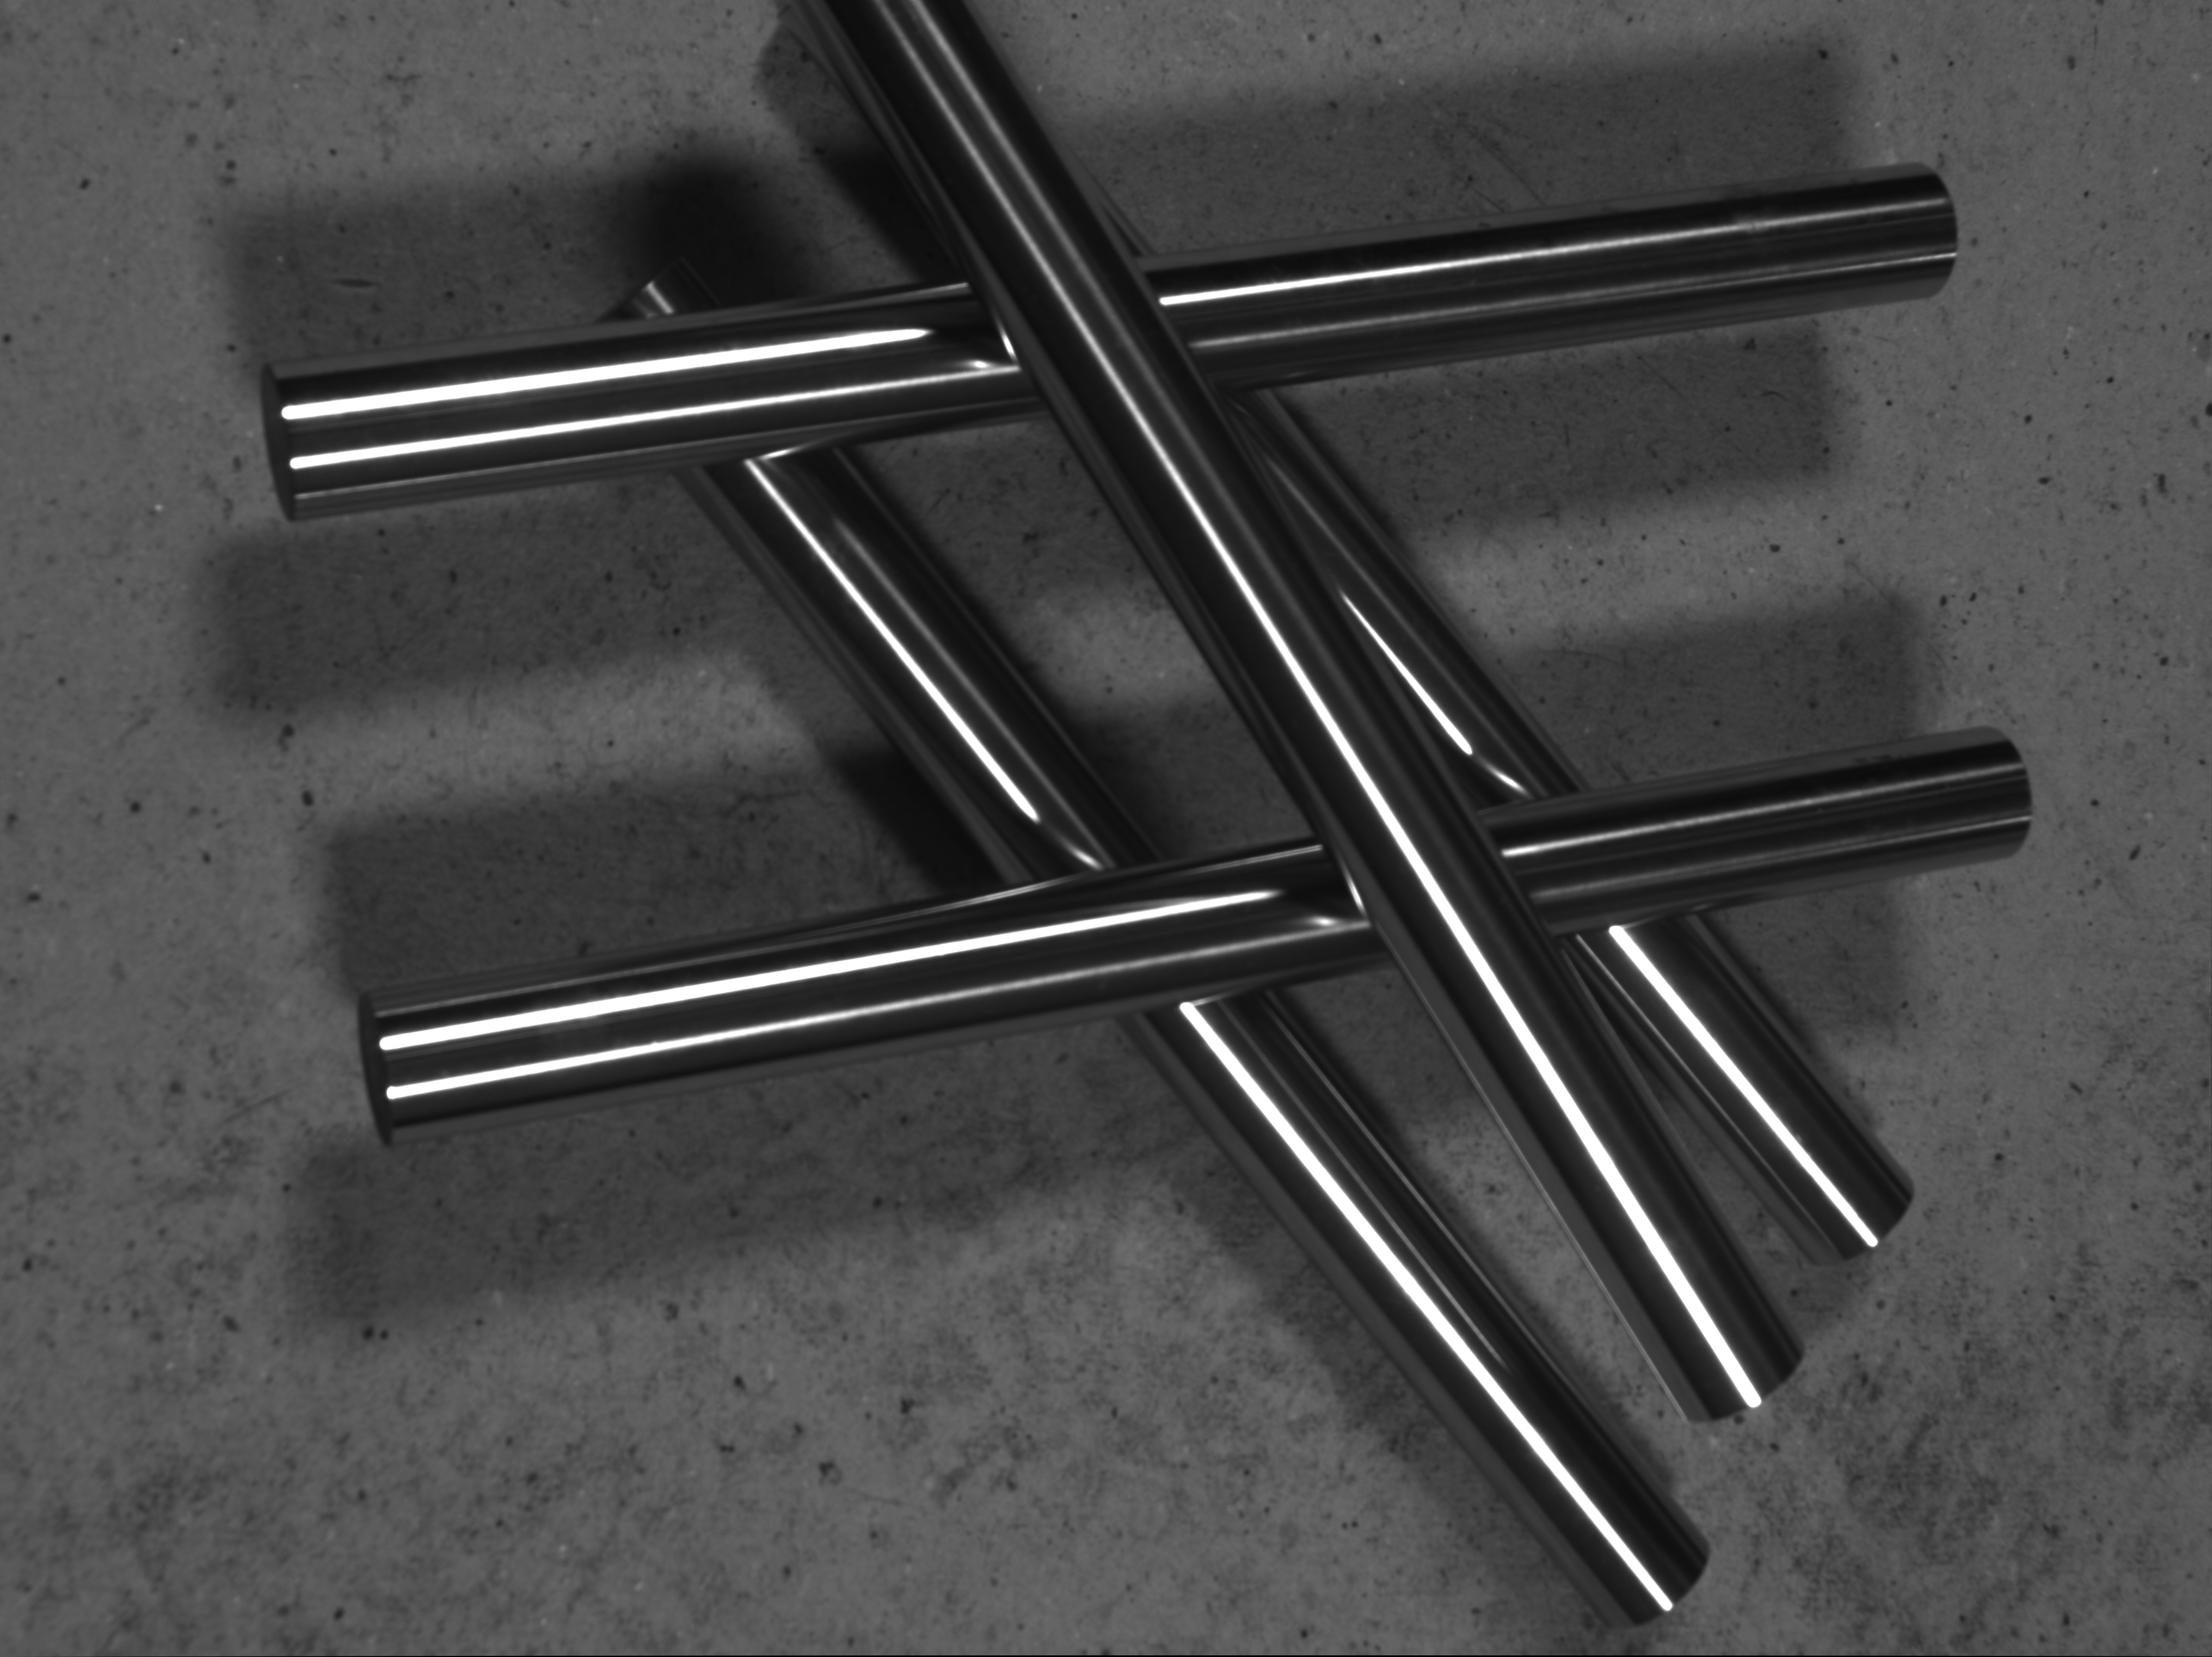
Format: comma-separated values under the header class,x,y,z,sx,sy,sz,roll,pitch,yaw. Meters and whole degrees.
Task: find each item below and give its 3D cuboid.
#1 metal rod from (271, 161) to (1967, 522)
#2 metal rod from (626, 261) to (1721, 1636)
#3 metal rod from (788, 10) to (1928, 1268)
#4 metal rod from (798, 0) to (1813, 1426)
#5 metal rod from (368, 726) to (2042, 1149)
class,x,y,z,sx,sy,sz,roll,pitch,yaw
metal rod,0.012,-0.085,0.622,0.301,0.025,0.025,-10,93,-20
metal rod,0.012,0.027,0.647,0.025,0.025,0.300,-42,103,-15
metal rod,0.050,-0.036,0.661,0.025,0.025,0.300,-44,104,-15
metal rod,0.031,-0.029,0.602,0.025,0.025,0.300,-36,102,-16
metal rod,0.026,0.016,0.627,0.301,0.025,0.025,-9,93,-20
